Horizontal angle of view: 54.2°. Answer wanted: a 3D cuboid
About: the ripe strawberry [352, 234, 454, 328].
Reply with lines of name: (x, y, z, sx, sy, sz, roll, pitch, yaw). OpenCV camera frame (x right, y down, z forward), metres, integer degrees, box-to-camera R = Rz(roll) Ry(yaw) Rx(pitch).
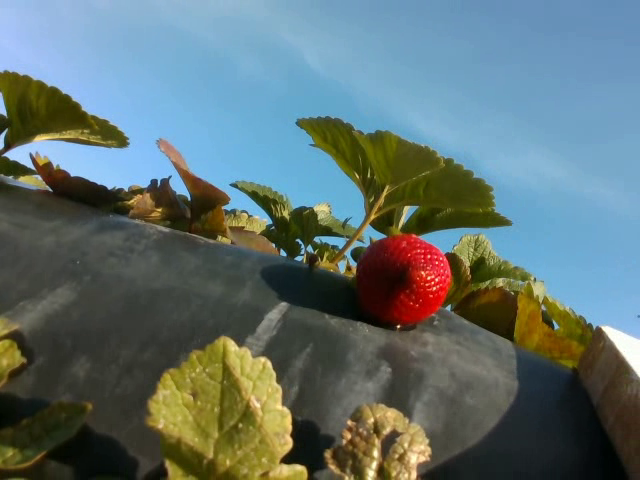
ripe strawberry: (0.030, 0.013, 0.212, 0.040, 0.037, 0.044, 19, 0, -9)
